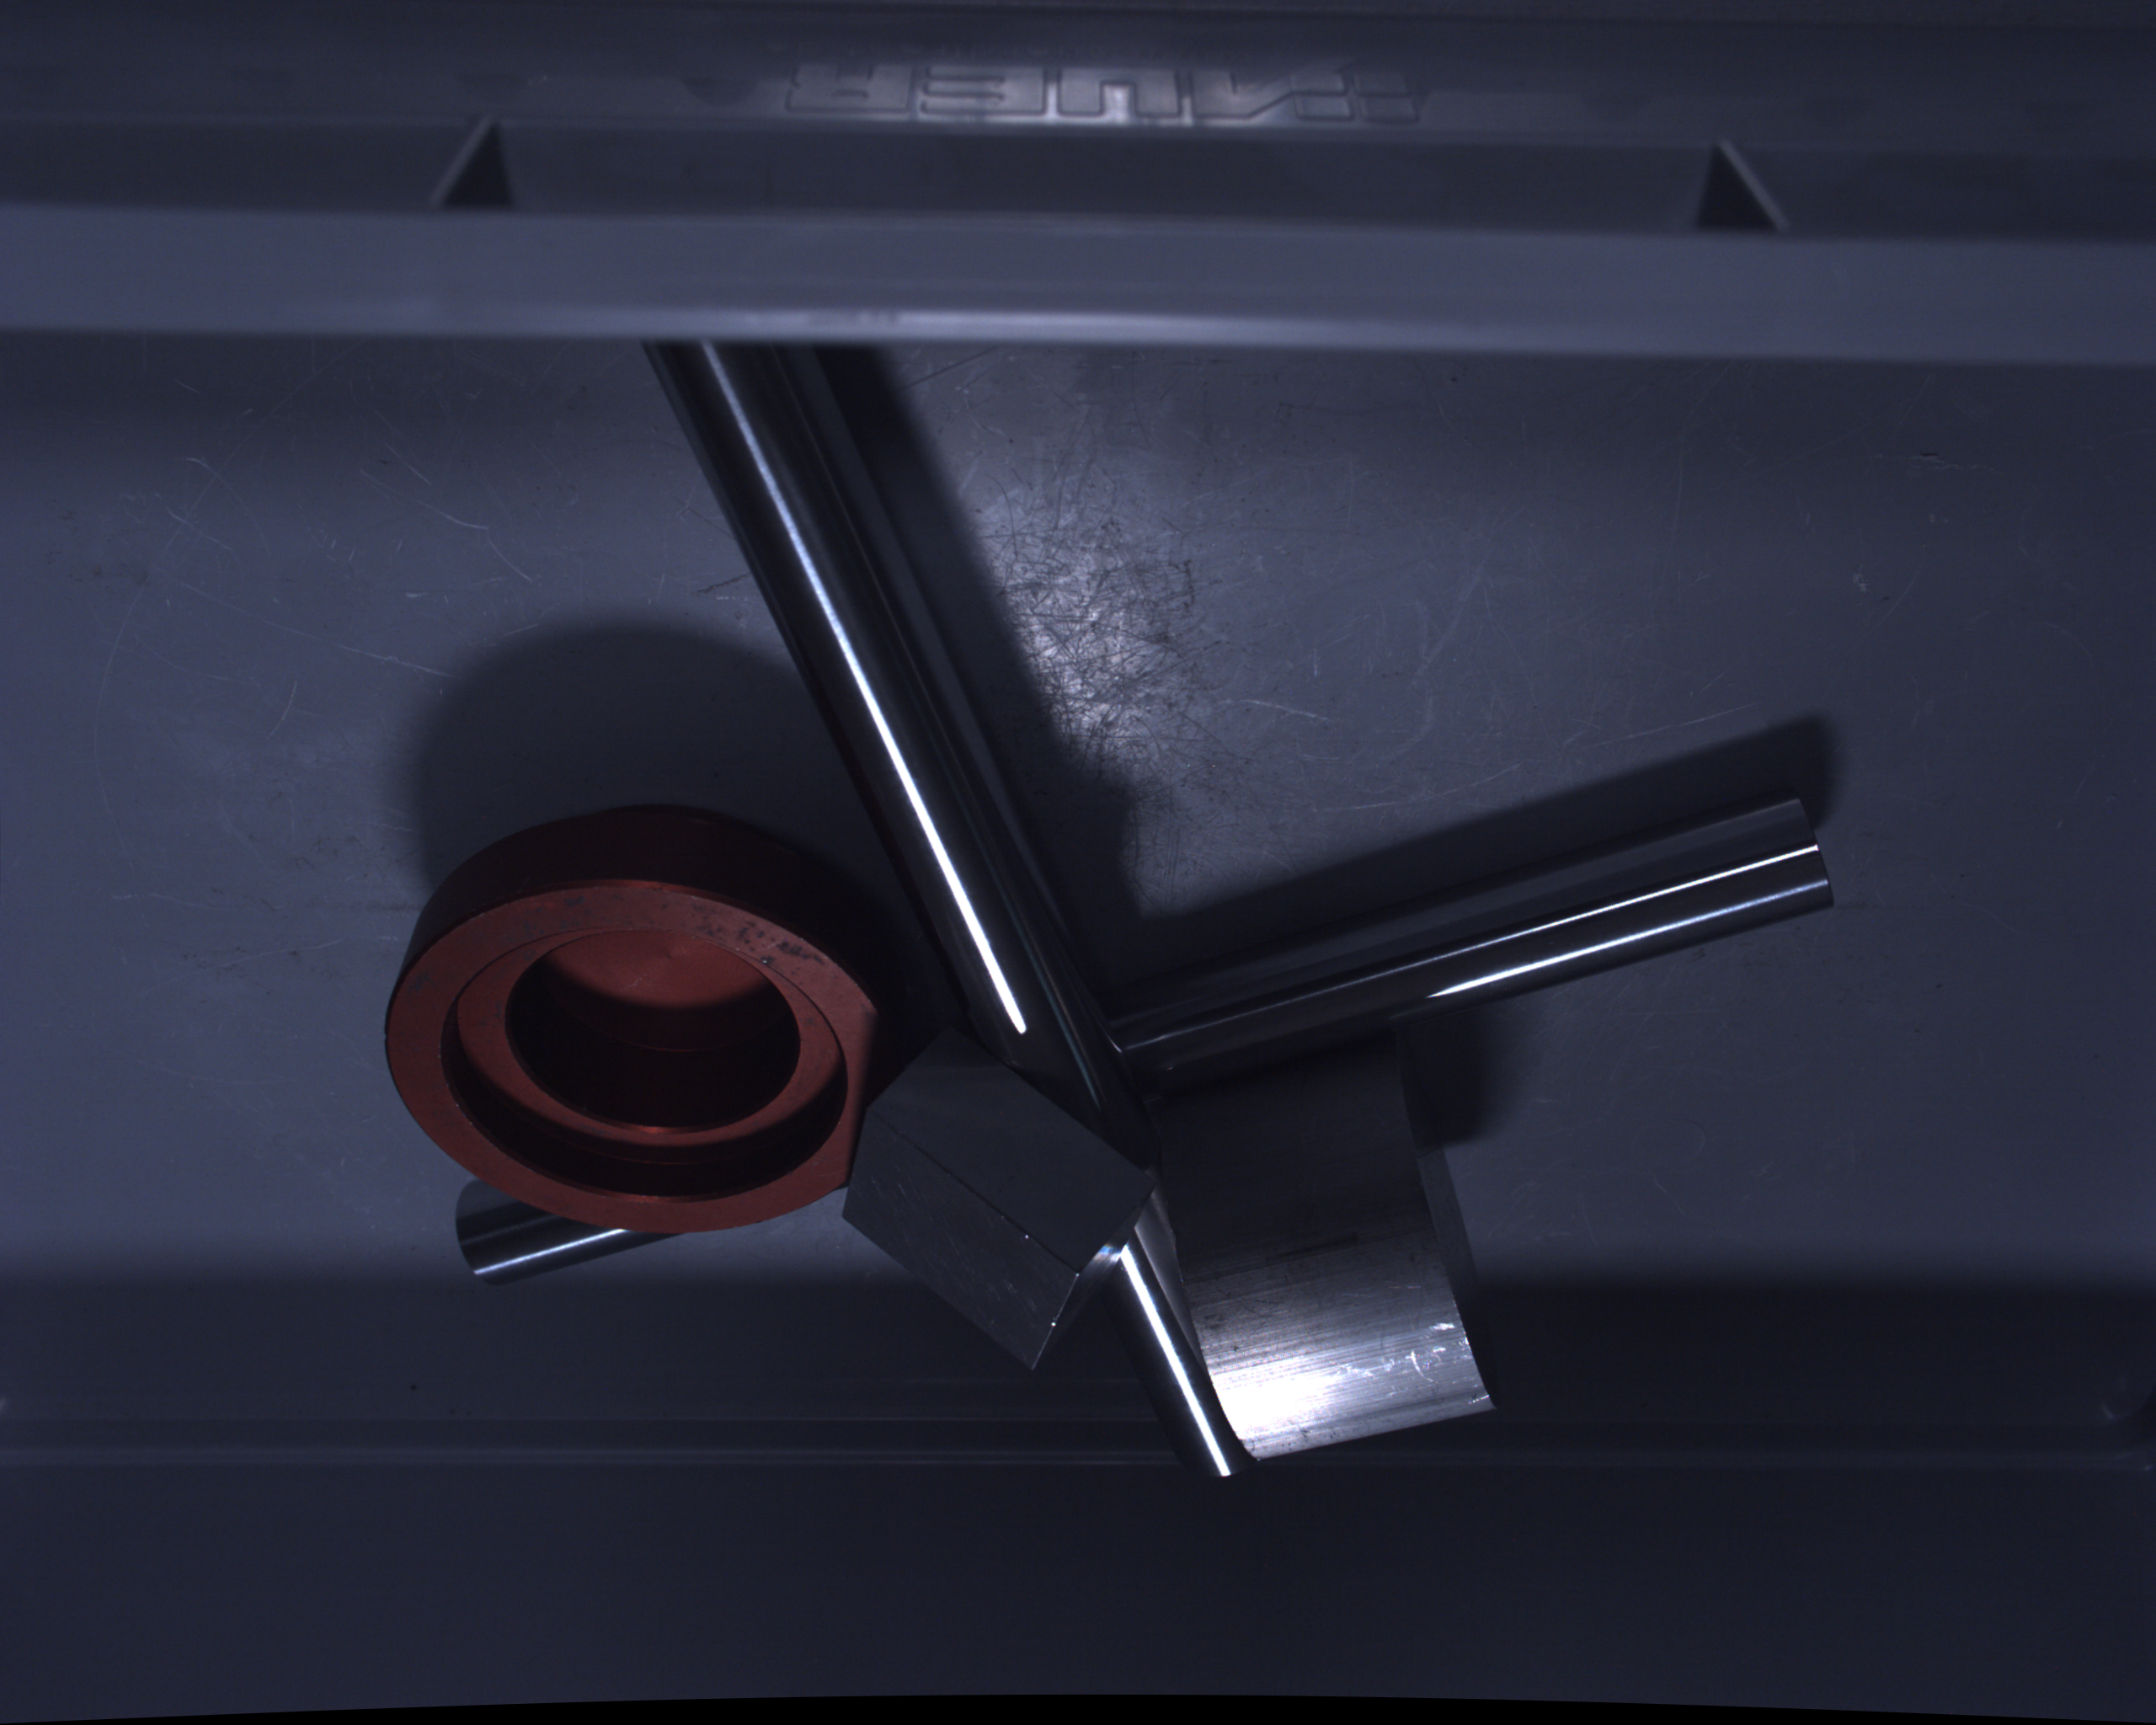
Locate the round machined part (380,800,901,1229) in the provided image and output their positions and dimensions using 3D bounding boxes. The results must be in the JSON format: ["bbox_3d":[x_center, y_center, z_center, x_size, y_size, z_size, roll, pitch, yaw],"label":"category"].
[{"bbox_3d":[-0.084,0.026,0.418,0.099,0.042,0.097,-1,130,0],"label":"round machined part"}]

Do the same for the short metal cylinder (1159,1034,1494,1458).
[{"bbox_3d":[0.054,0.080,0.440,0.050,0.080,0.080,-15,129,12],"label":"short metal cylinder"}]

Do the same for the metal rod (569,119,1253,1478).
[{"bbox_3d":[-0.016,0.011,0.393,0.025,0.025,0.299,-15,122,12],"label":"metal rod"}]

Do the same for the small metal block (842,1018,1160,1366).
[{"bbox_3d":[-0.017,0.065,0.409,0.050,0.025,0.050,36,147,12],"label":"small metal block"}]

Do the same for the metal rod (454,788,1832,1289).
[{"bbox_3d":[0.004,0.041,0.443,0.301,0.025,0.025,-18,128,14],"label":"metal rod"}]
